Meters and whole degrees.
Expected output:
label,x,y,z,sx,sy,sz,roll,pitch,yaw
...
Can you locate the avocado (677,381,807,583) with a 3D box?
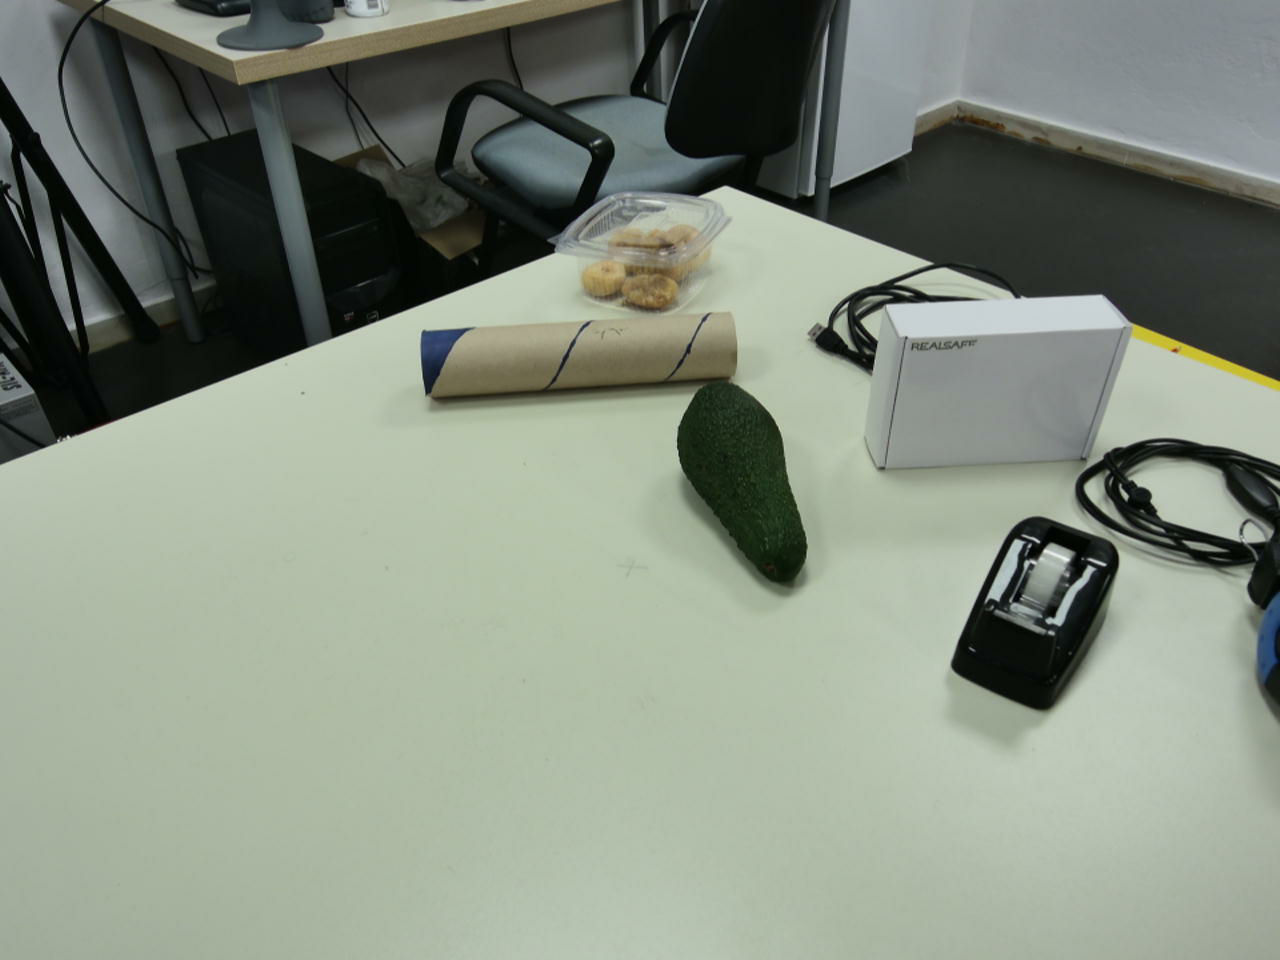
label,x,y,z,sx,sy,sz,roll,pitch,yaw
avocado,0.067,-0.006,0.585,0.063,0.067,0.141,-17,39,-20
